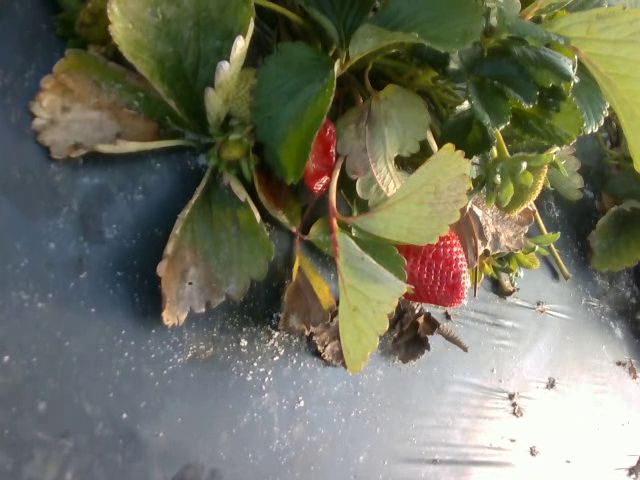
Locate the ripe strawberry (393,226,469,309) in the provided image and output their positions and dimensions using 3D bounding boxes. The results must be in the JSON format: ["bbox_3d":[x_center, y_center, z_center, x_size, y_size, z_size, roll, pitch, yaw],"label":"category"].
[{"bbox_3d":[0.035,0.010,0.202,0.031,0.030,0.025,-31,-7,-30],"label":"ripe strawberry"}]
